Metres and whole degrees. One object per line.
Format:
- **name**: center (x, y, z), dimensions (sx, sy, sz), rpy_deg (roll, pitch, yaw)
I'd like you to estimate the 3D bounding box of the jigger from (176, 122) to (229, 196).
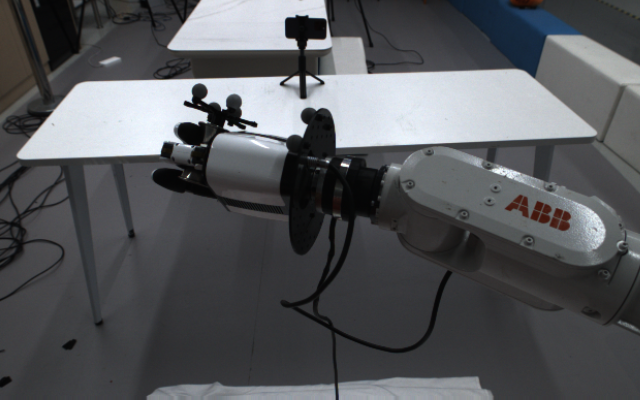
- **jigger**: center (-0.129, -0.050, 0.552), dimensions (0.043, 0.071, 0.043), rpy_deg (18, -6, 2)
